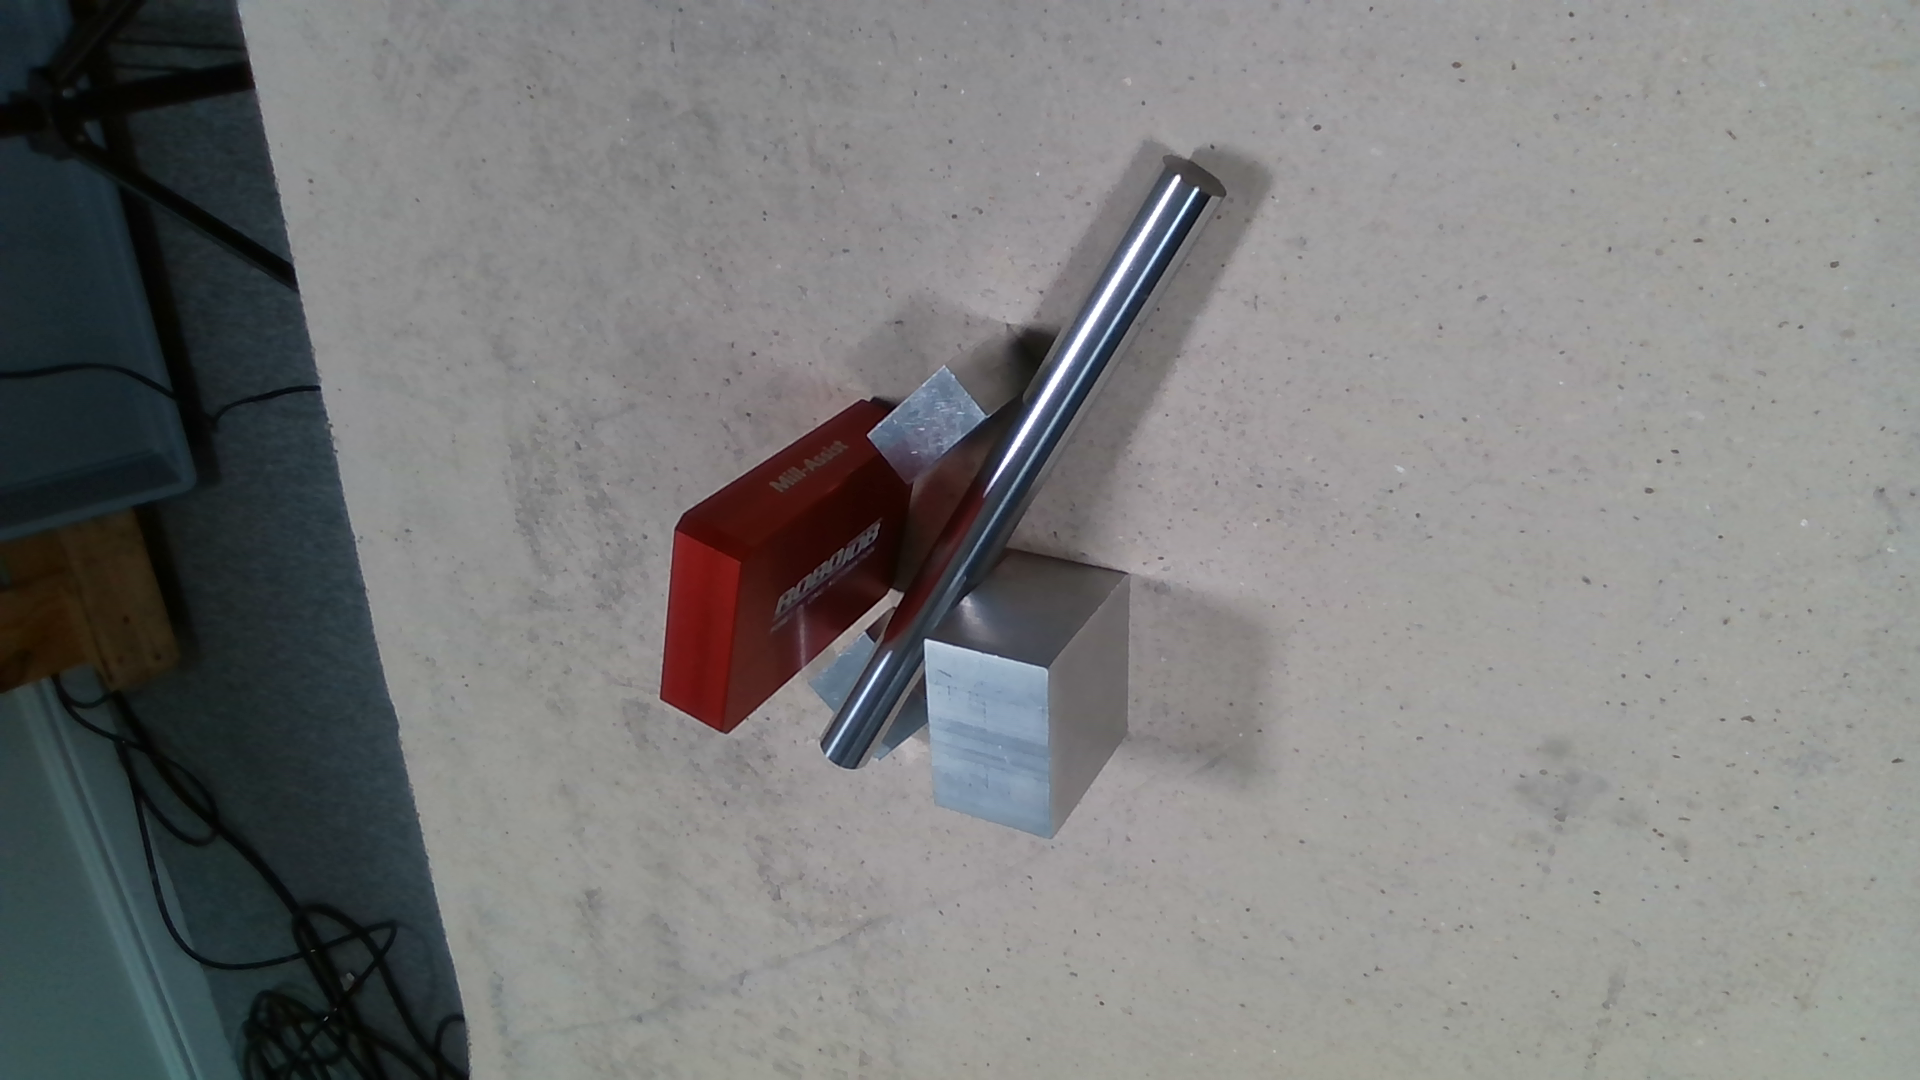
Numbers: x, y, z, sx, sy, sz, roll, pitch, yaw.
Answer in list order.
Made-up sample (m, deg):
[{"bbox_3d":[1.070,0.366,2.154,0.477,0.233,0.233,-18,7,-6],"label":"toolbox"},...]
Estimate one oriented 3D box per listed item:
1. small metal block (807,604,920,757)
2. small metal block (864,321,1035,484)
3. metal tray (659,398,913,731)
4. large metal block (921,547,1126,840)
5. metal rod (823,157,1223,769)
[{"bbox_3d":[-0.035,0.066,0.638,0.050,0.025,0.050,48,129,0],"label":"small metal block"},{"bbox_3d":[-0.002,-0.053,0.535,0.025,0.050,0.050,51,129,-2],"label":"small metal block"},{"bbox_3d":[-0.066,0.007,0.557,0.030,0.130,0.090,25,126,18],"label":"metal tray"},{"bbox_3d":[0.028,0.060,0.559,0.050,0.080,0.080,12,121,26],"label":"large metal block"},{"bbox_3d":[0.014,-0.014,0.546,0.025,0.025,0.301,37,123,9],"label":"metal rod"}]
